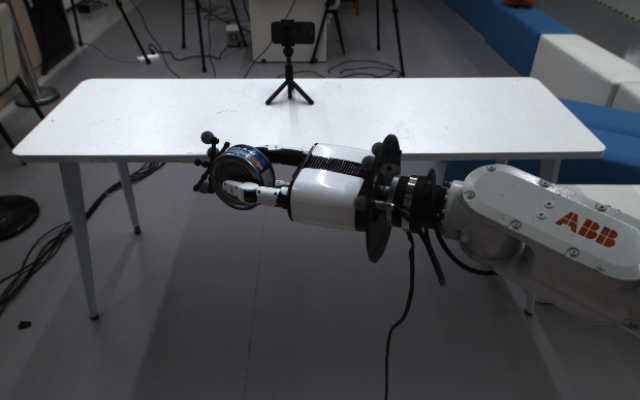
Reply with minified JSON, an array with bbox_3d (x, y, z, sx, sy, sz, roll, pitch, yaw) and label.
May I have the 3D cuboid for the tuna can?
[{"bbox_3d":[-0.104,-0.032,0.656,0.085,0.085,0.034,14,31,16],"label":"tuna can"}]
